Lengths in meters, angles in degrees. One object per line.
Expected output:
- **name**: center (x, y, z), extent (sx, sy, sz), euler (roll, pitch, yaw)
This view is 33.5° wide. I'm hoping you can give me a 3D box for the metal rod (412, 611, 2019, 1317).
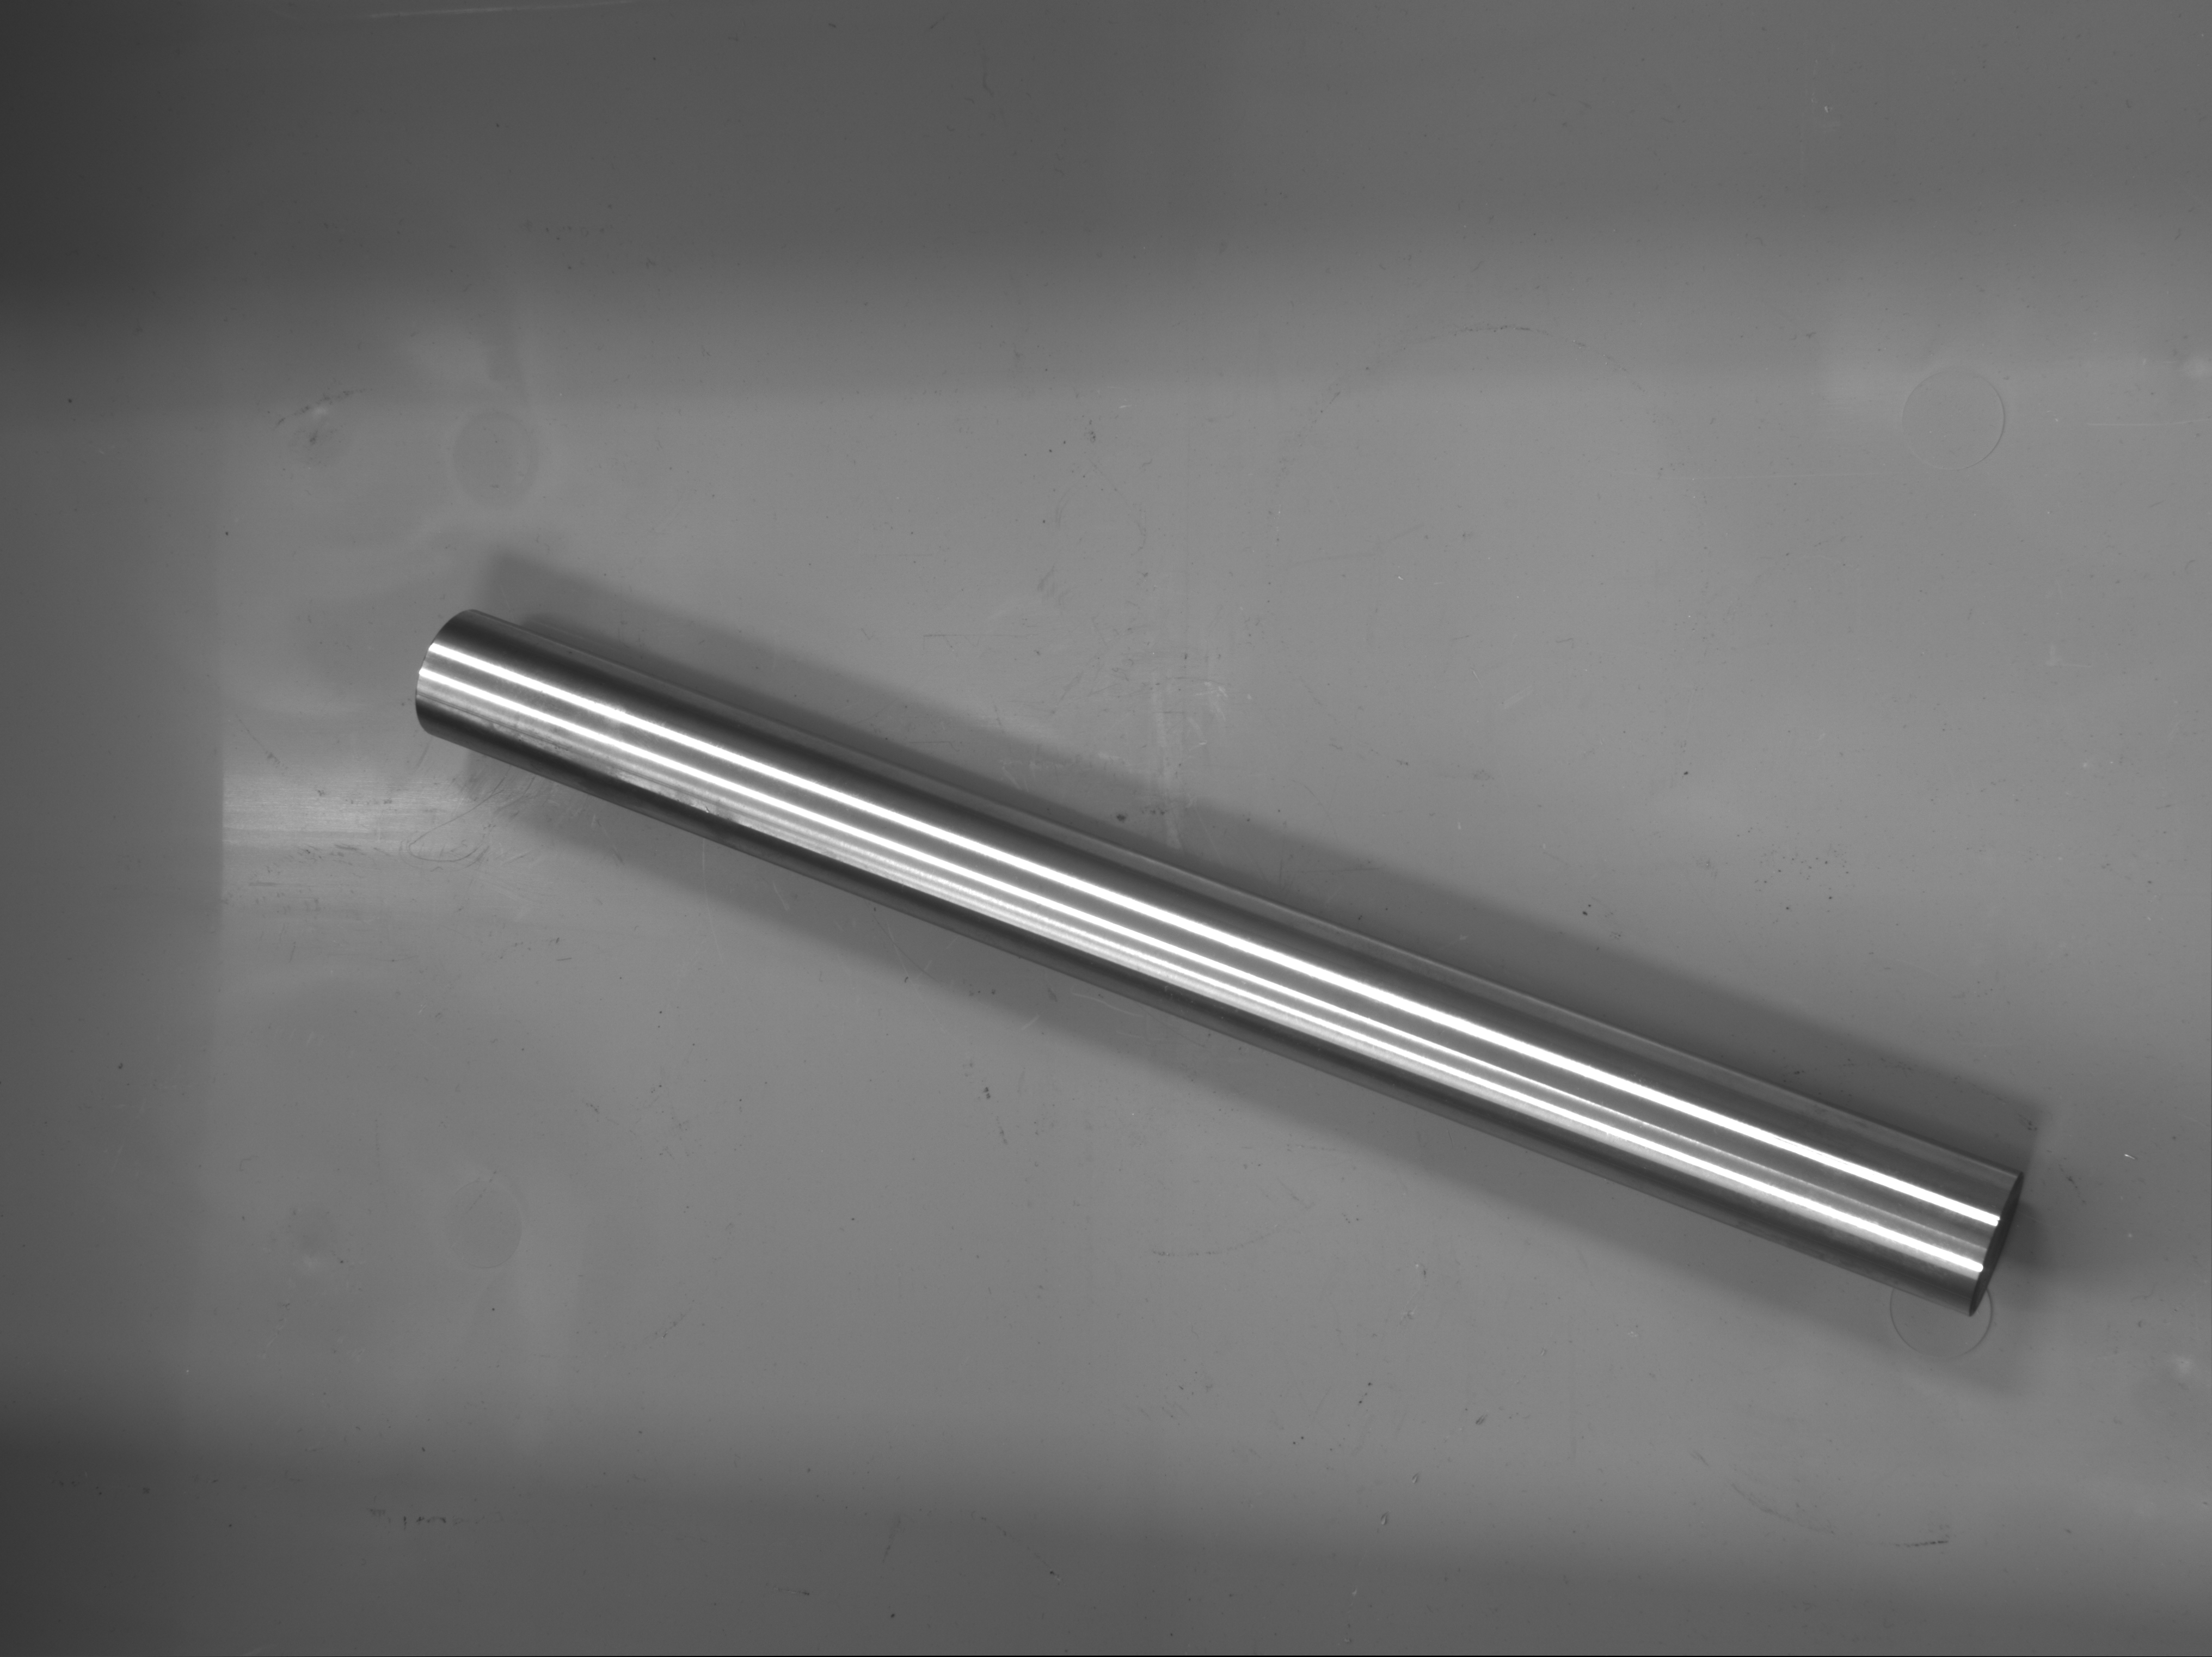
- **metal rod**: center (0.010, 0.019, 0.642), extent (0.299, 0.025, 0.025), euler (20, 97, 19)
